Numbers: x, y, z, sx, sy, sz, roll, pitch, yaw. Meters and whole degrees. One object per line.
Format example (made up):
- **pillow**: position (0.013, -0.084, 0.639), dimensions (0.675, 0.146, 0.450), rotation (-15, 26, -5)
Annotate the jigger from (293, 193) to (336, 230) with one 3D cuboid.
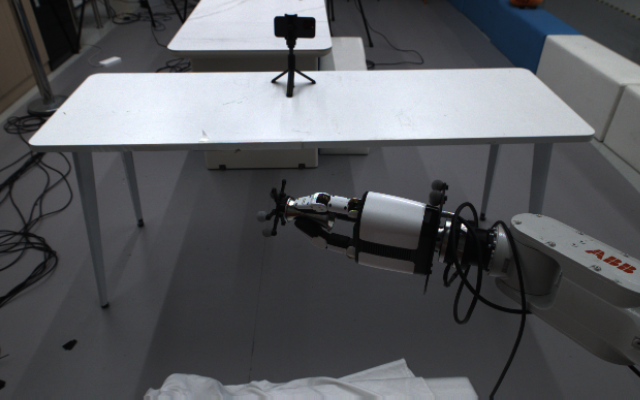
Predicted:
- **jigger**: position (-0.008, 0.015, 0.724), dimensions (0.071, 0.043, 0.043), rotation (9, 35, 16)
